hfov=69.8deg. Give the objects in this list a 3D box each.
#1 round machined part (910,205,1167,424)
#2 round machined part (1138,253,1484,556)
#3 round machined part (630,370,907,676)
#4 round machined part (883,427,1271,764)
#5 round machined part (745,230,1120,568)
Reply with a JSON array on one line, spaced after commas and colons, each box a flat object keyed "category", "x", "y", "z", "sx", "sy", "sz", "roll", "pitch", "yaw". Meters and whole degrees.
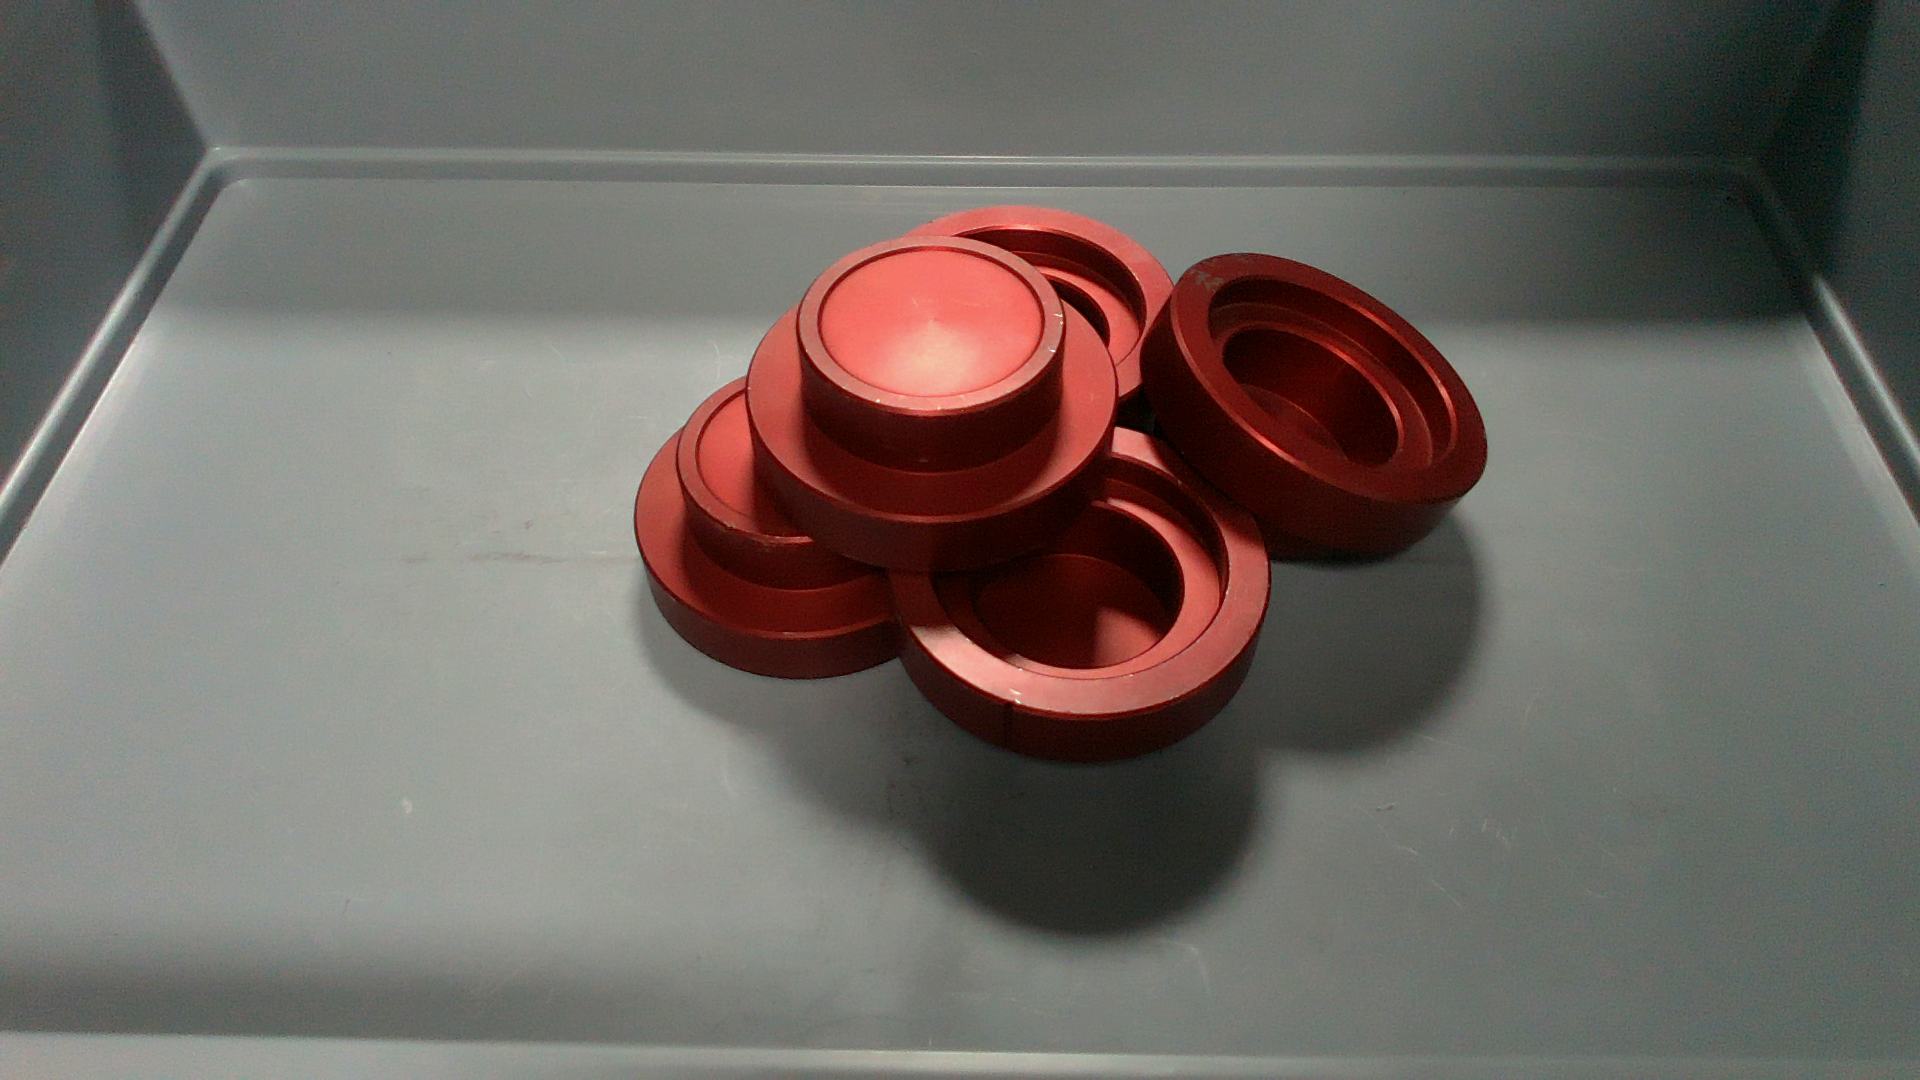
[{"category": "round machined part", "x": 0.017, "y": -0.057, "z": 0.428, "sx": 0.098, "sy": 0.042, "sz": 0.098, "roll": 0, "pitch": 50, "yaw": 0}, {"category": "round machined part", "x": 0.095, "y": -0.034, "z": 0.394, "sx": 0.098, "sy": 0.042, "sz": 0.098, "roll": 14, "pitch": 45, "yaw": -14}, {"category": "round machined part", "x": -0.044, "y": -0.013, "z": 0.388, "sx": 0.098, "sy": 0.042, "sz": 0.098, "roll": 0, "pitch": 50, "yaw": 0}, {"category": "round machined part", "x": 0.030, "y": 0.017, "z": 0.364, "sx": 0.098, "sy": 0.042, "sz": 0.098, "roll": 0, "pitch": 50, "yaw": 0}, {"category": "round machined part", "x": -0.007, "y": -0.043, "z": 0.359, "sx": 0.098, "sy": 0.042, "sz": 0.098, "roll": 0, "pitch": 50, "yaw": 0}]
